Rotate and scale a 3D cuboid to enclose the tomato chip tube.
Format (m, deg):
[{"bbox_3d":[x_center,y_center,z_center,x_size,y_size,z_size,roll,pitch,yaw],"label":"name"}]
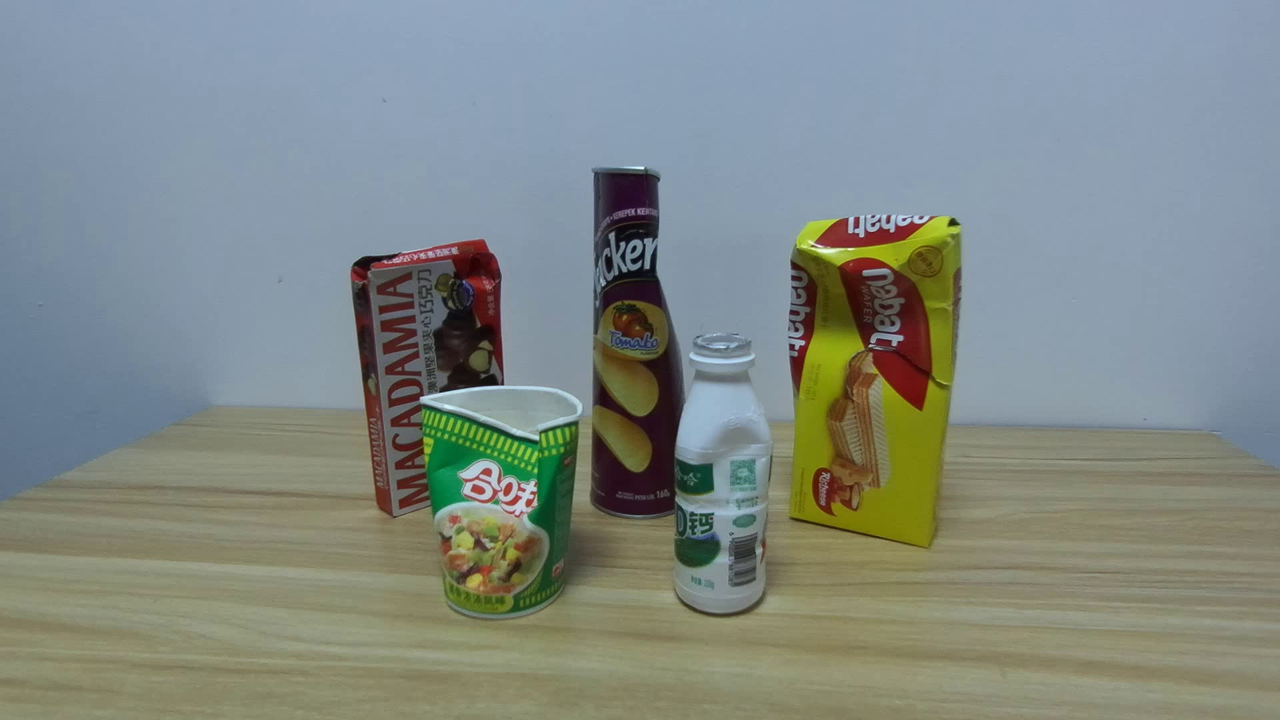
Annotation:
[{"bbox_3d":[0.000,-0.013,0.493,0.076,0.235,0.078,9,17,37],"label":"tomato chip tube"}]

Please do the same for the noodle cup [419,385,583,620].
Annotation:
[{"bbox_3d":[-0.076,0.078,0.399,0.075,0.122,0.082,-2,5,-32],"label":"noodle cup"}]

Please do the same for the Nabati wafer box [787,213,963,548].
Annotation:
[{"bbox_3d":[0.143,0.012,0.449,0.106,0.204,0.042,7,18,28],"label":"Nabati wafer box"}]

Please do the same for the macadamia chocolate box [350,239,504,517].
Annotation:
[{"bbox_3d":[-0.143,0.012,0.505,0.103,0.187,0.027,-14,24,-39],"label":"macadamia chocolate box"}]

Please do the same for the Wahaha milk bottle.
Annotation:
[{"bbox_3d":[0.042,0.061,0.380,0.055,0.149,0.055,-2,15,1],"label":"Wahaha milk bottle"}]
